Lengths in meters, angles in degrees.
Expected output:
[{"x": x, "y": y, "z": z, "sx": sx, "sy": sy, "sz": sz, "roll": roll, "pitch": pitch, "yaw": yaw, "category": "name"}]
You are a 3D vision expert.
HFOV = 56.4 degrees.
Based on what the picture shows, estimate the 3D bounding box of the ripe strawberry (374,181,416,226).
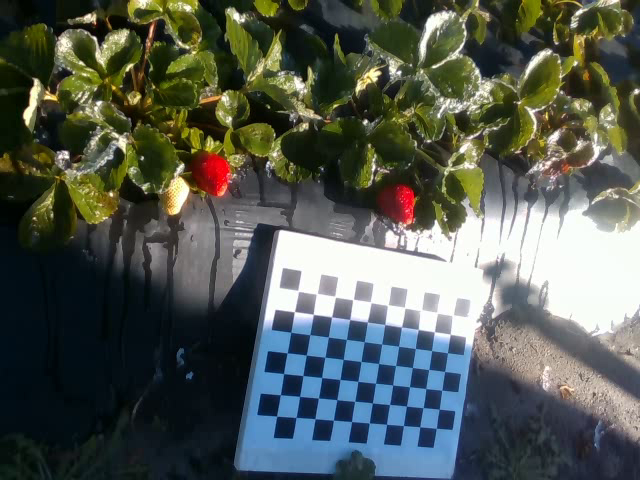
[{"x": 0.099, "y": -0.040, "z": 0.713, "sx": 0.048, "sy": 0.061, "sz": 0.044, "roll": 2, "pitch": -33, "yaw": -23, "category": "ripe strawberry"}]

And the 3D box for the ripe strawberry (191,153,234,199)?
[{"x": -0.113, "y": -0.062, "z": 0.631, "sx": 0.042, "sy": 0.061, "sz": 0.046, "roll": -6, "pitch": -39, "yaw": -22, "category": "ripe strawberry"}]
